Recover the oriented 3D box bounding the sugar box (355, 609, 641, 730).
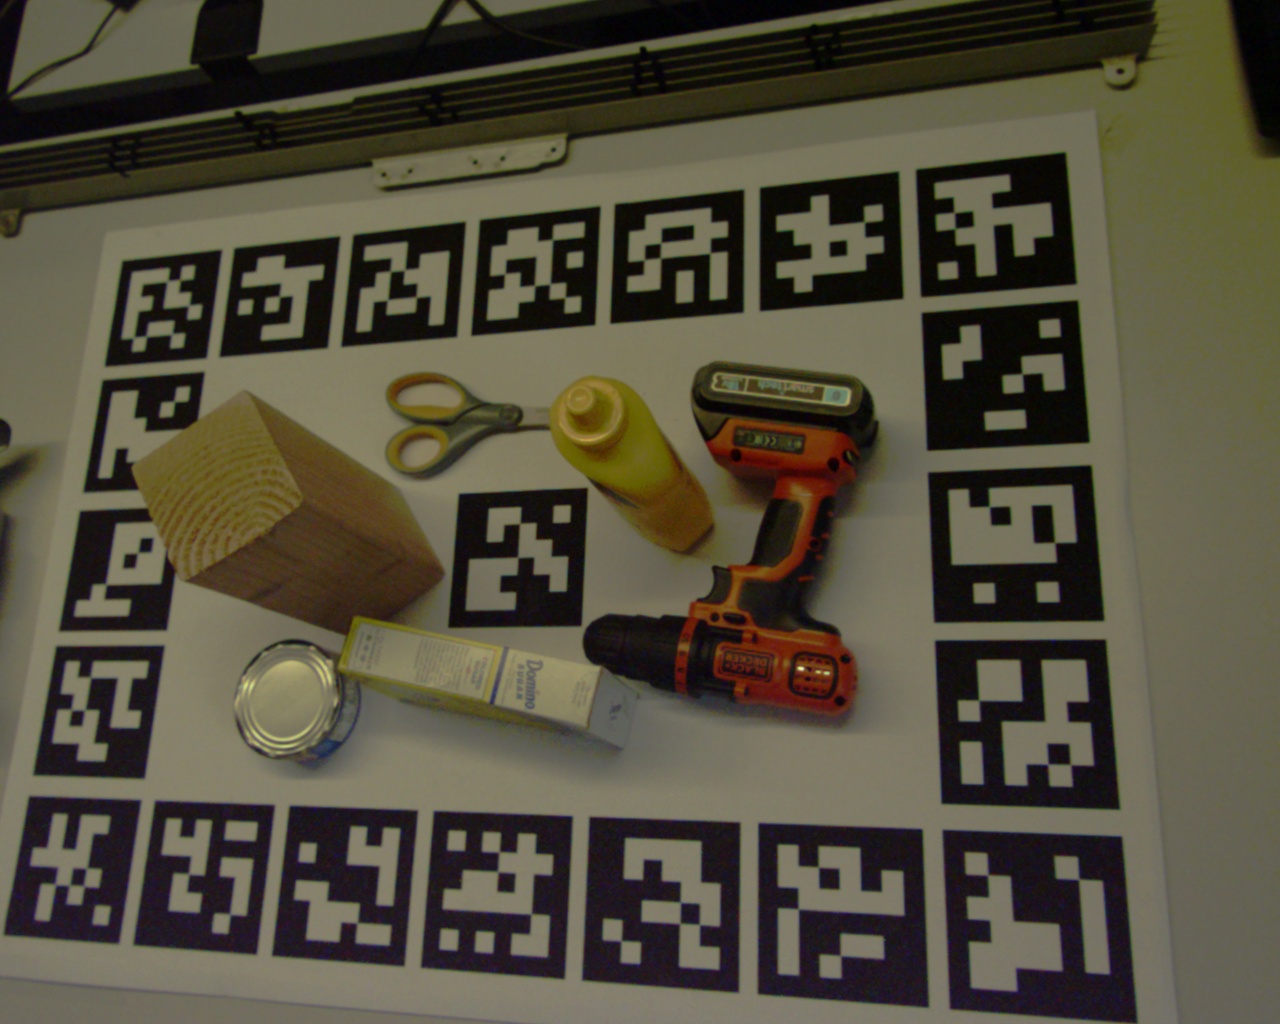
[{"bbox_3d":[-0.096,0.110,0.786,0.178,0.092,0.045,9,75,16],"label":"sugar box"}]

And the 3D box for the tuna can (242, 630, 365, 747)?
[{"bbox_3d":[-0.250,0.132,0.851,0.086,0.033,0.086,-4,76,14],"label":"tuna can"}]

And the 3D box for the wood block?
[{"bbox_3d":[-0.227,0.008,0.799,0.091,0.204,0.090,-31,71,6],"label":"wood block"}]

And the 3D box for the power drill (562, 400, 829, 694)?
[{"bbox_3d":[0.047,0.022,0.784,0.186,0.057,0.187,10,86,19],"label":"power drill"}]

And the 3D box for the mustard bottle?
[{"bbox_3d":[-0.013,-0.039,0.755,0.058,0.190,0.097,-42,70,2],"label":"mustard bottle"}]

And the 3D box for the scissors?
[{"bbox_3d":[-0.127,-0.073,0.881,0.204,0.016,0.088,-1,72,16],"label":"scissors"}]
